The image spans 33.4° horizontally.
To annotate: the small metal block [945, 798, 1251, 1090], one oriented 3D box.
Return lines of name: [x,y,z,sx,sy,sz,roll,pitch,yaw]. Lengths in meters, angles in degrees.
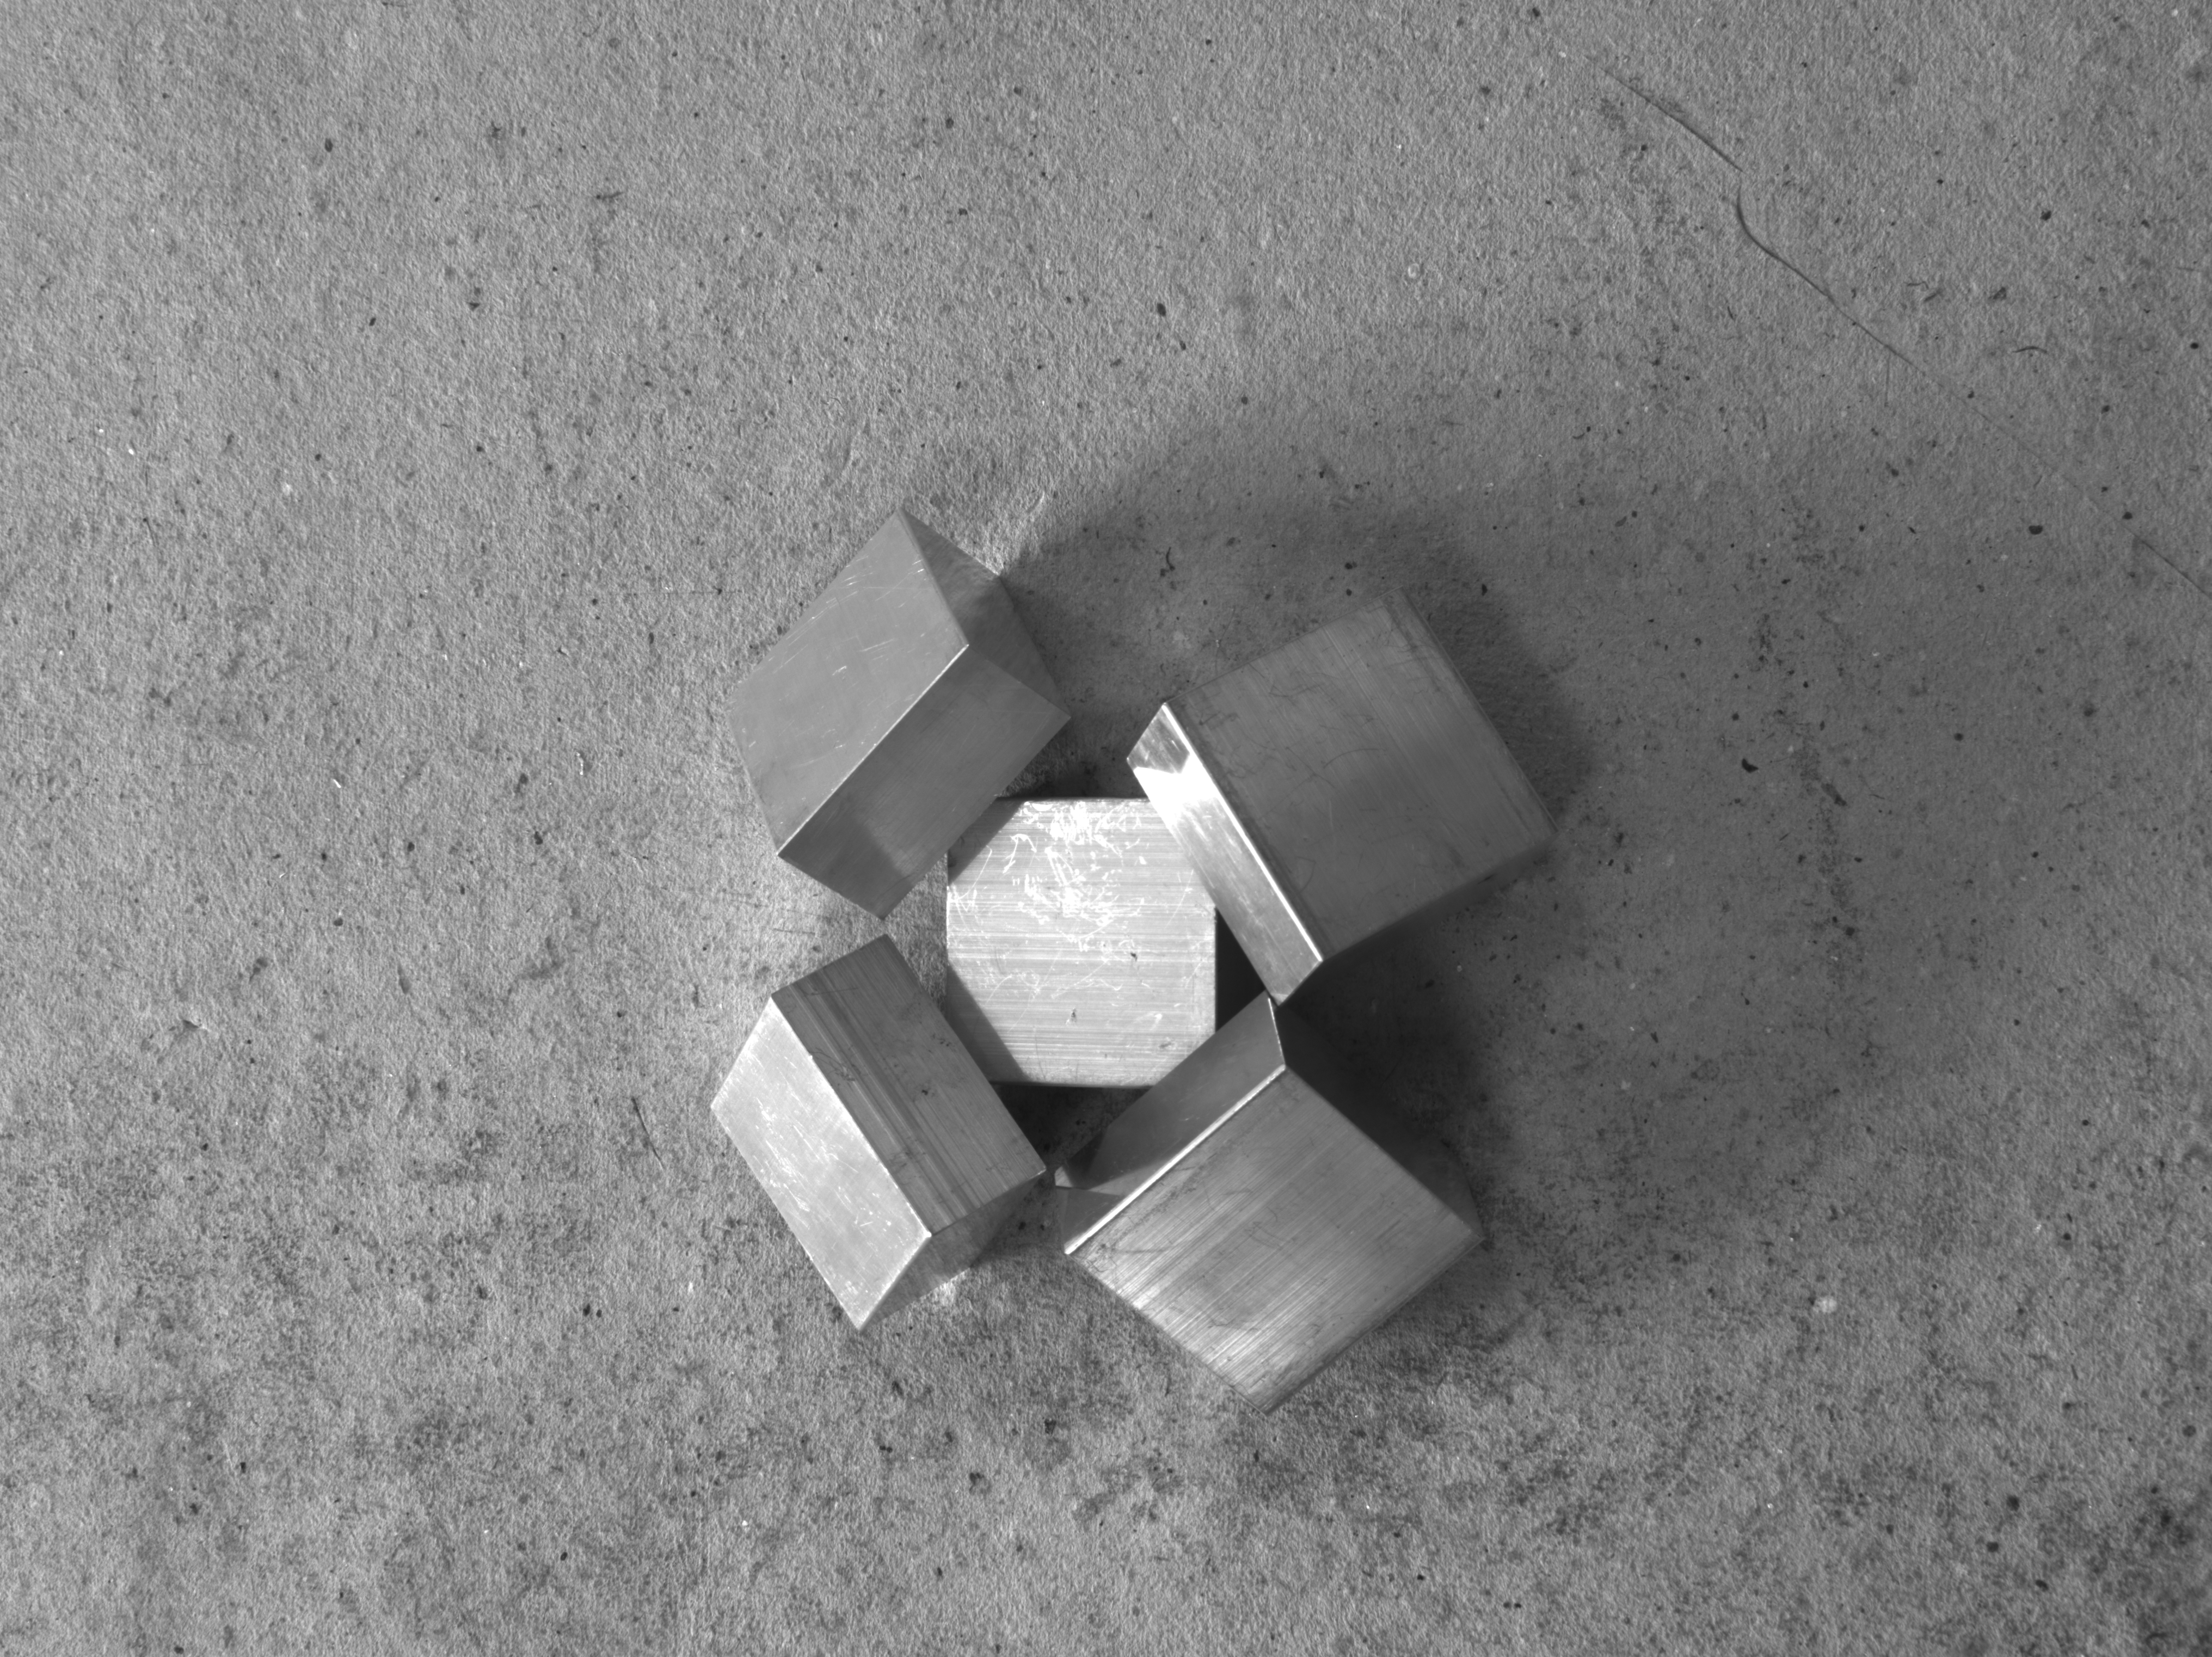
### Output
small metal block: [0.000,0.020,0.647,0.050,0.025,0.050,0,90,19]

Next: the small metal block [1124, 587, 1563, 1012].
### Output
small metal block: [0.040,-0.005,0.619,0.050,0.025,0.050,-27,79,-23]

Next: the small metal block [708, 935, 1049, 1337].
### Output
small metal block: [-0.041,0.055,0.648,0.050,0.025,0.050,55,150,12]

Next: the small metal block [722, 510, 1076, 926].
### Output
small metal block: [-0.037,-0.020,0.647,0.050,0.025,0.050,-46,34,14]

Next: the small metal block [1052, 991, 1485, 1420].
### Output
small metal block: [0.027,0.064,0.624,0.050,0.025,0.050,-42,114,15]
